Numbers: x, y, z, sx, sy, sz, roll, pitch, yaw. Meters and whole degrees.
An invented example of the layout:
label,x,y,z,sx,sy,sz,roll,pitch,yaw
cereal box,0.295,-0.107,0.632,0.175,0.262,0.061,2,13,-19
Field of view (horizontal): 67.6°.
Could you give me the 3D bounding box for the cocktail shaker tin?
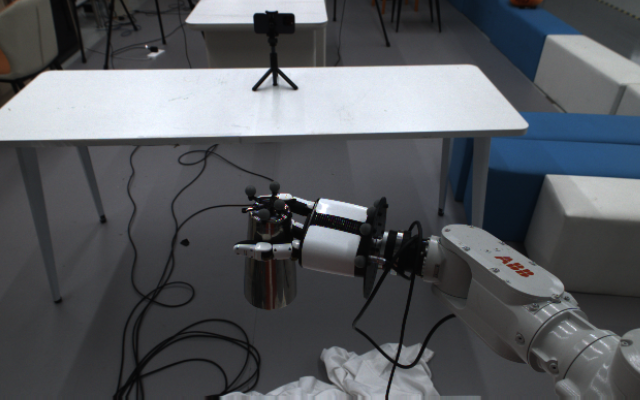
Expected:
label,x,y,z,sx,sy,sz,roll,pitch,yaw
cocktail shaker tin,-0.080,0.083,0.798,0.093,0.170,0.093,2,33,-2
